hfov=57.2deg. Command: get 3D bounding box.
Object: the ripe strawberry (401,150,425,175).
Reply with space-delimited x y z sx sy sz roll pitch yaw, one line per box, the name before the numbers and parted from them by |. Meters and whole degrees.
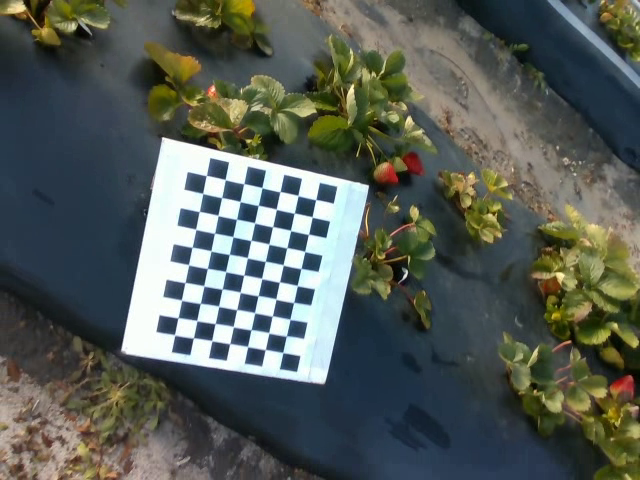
ripe strawberry | 0.190 -0.153 1.167 0.048 0.065 0.050 -37 5 -4
